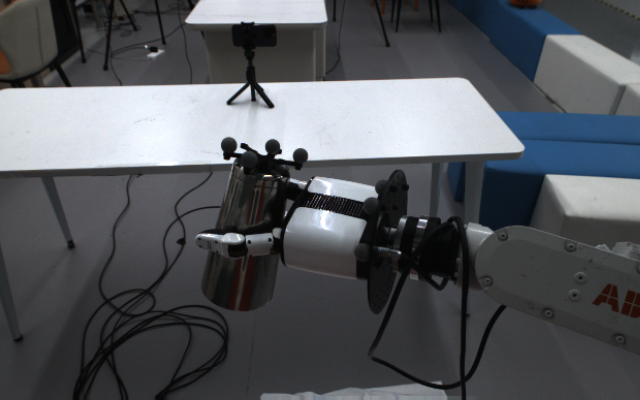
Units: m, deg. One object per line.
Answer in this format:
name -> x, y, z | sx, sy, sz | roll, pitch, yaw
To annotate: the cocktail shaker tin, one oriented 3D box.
cocktail shaker tin -> -0.082, 0.034, 0.580 | 0.093, 0.170, 0.093 | 11, 24, -5
